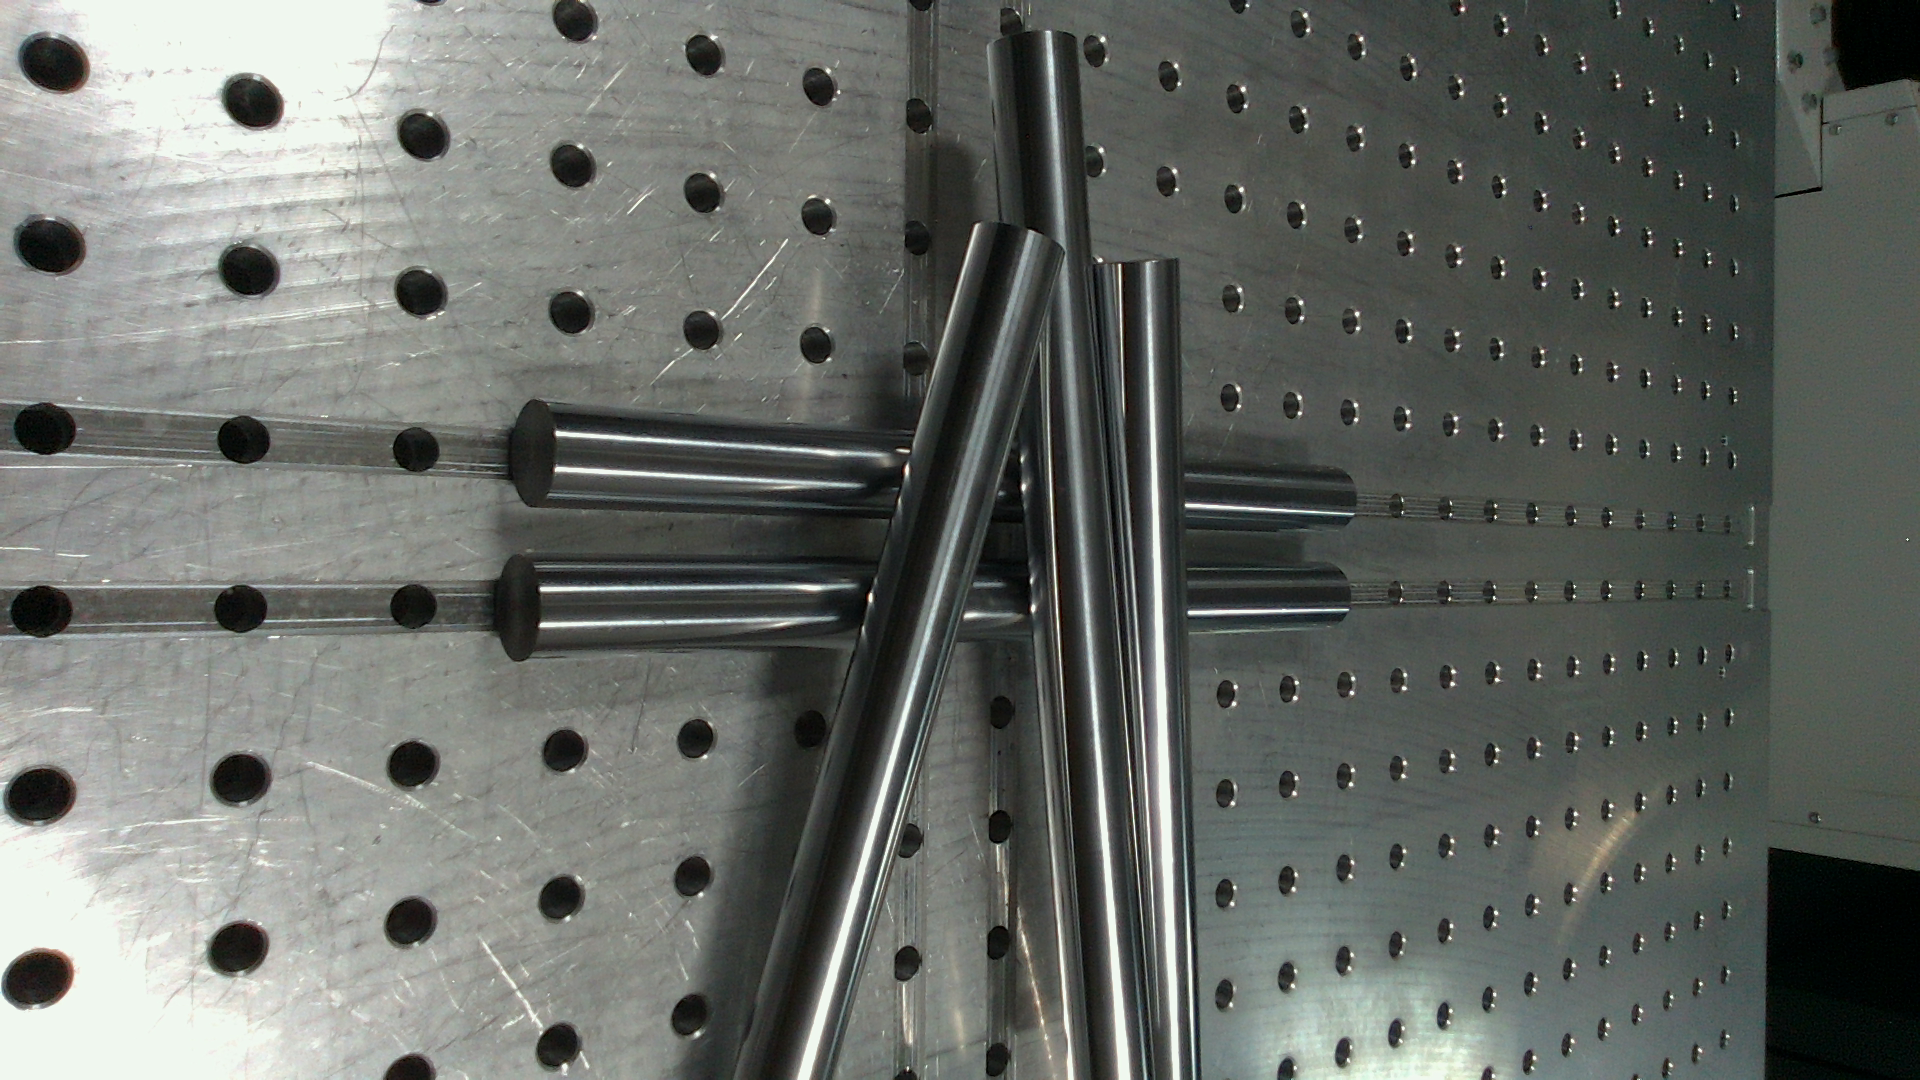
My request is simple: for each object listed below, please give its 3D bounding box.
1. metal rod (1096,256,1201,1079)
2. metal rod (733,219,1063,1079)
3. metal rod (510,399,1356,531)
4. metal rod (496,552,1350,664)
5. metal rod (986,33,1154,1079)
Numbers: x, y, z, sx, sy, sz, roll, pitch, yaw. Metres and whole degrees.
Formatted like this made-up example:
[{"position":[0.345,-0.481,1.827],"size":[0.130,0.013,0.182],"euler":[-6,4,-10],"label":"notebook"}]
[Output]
[{"position":[0.058,0.068,0.416],"size":[0.025,0.025,0.300],"euler":[-14,106,-39],"label":"metal rod"},{"position":[-0.025,0.066,0.347],"size":[0.025,0.025,0.300],"euler":[18,85,-38],"label":"metal rod"},{"position":[0.019,-0.017,0.408],"size":[0.301,0.025,0.025],"euler":[1,89,-40],"label":"metal rod"},{"position":[0.016,0.017,0.406],"size":[0.301,0.025,0.025],"euler":[1,89,-40],"label":"metal rod"},{"position":[0.032,0.014,0.386],"size":[0.025,0.025,0.300],"euler":[-8,95,-39],"label":"metal rod"}]
